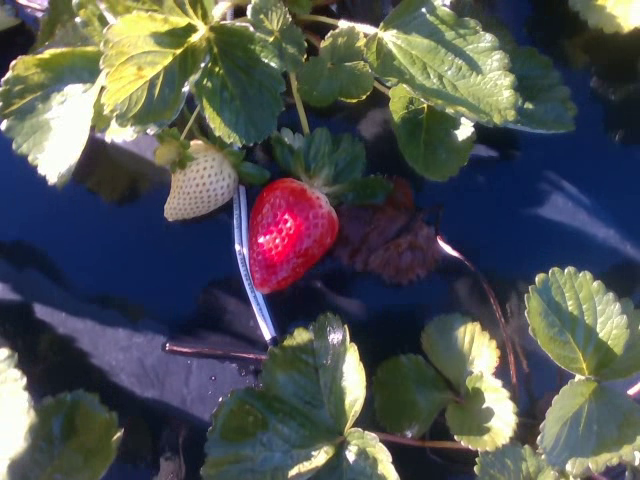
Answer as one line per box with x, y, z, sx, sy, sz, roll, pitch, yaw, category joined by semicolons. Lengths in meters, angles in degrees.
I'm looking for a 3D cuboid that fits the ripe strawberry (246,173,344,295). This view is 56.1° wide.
-0.012;-0.003;0.322;0.062;0.080;0.040;37;-20;-29;ripe strawberry
